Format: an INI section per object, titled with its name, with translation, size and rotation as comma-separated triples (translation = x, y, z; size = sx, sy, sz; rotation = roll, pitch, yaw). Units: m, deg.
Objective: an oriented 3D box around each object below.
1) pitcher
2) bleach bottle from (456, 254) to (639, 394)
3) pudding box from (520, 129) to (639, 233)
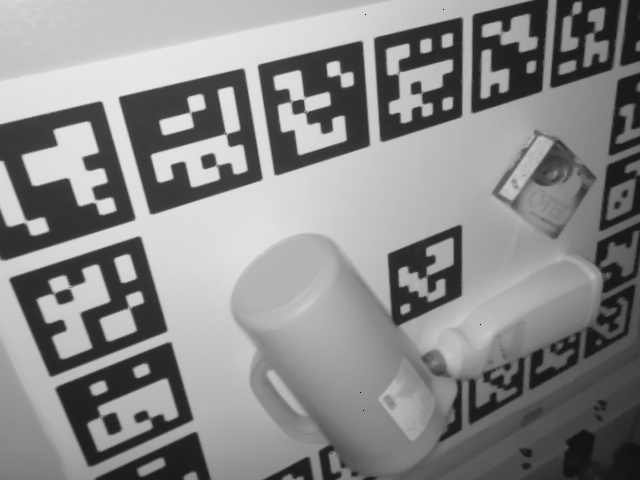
[pitcher]
translation = 0.030, 0.116, 0.692
size = 0.186, 0.134, 0.243
rotation = -24, 123, 24
[bleach bottle]
translation = 0.272, 0.112, 0.844
size = 0.253, 0.067, 0.102
rotation = -23, 117, -16
[pudding box]
translation = 0.294, -0.061, 0.787
size = 0.115, 0.038, 0.089
rotation = 27, 103, -33
